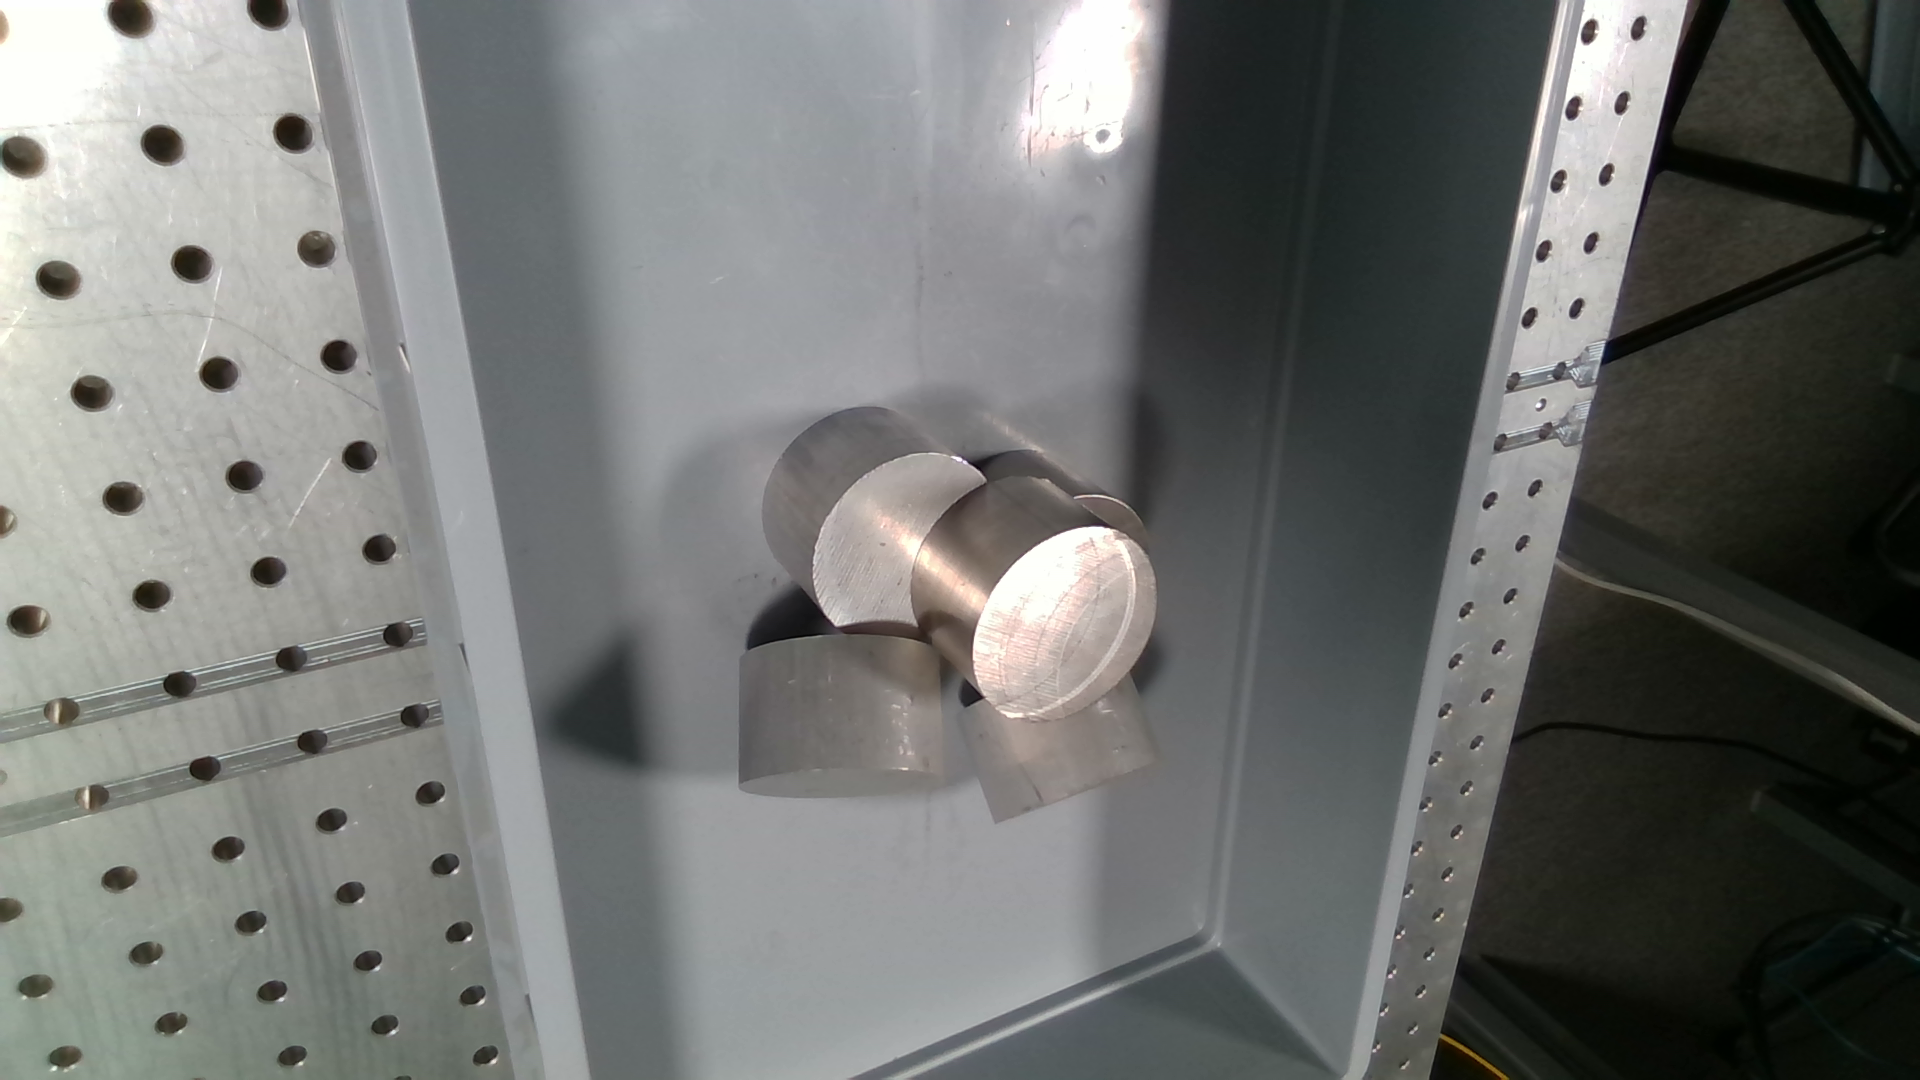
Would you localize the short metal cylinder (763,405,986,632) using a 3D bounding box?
[{"bbox_3d":[-0.031,-0.007,0.541,0.080,0.050,0.080,-14,122,-25],"label":"short metal cylinder"}]

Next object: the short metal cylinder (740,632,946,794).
[{"bbox_3d":[-0.047,0.071,0.544,0.080,0.080,0.050,10,68,-35],"label":"short metal cylinder"}]

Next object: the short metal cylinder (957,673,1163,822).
[{"bbox_3d":[0.044,0.087,0.611,0.080,0.050,0.080,-21,167,-5],"label":"short metal cylinder"}]

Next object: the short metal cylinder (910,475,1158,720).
[{"bbox_3d":[0.028,0.021,0.526,0.080,0.050,0.080,-14,122,-25],"label":"short metal cylinder"}]

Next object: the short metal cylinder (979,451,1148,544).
[{"bbox_3d":[0.033,0.008,0.587,0.080,0.050,0.080,-14,122,-25],"label":"short metal cylinder"}]
